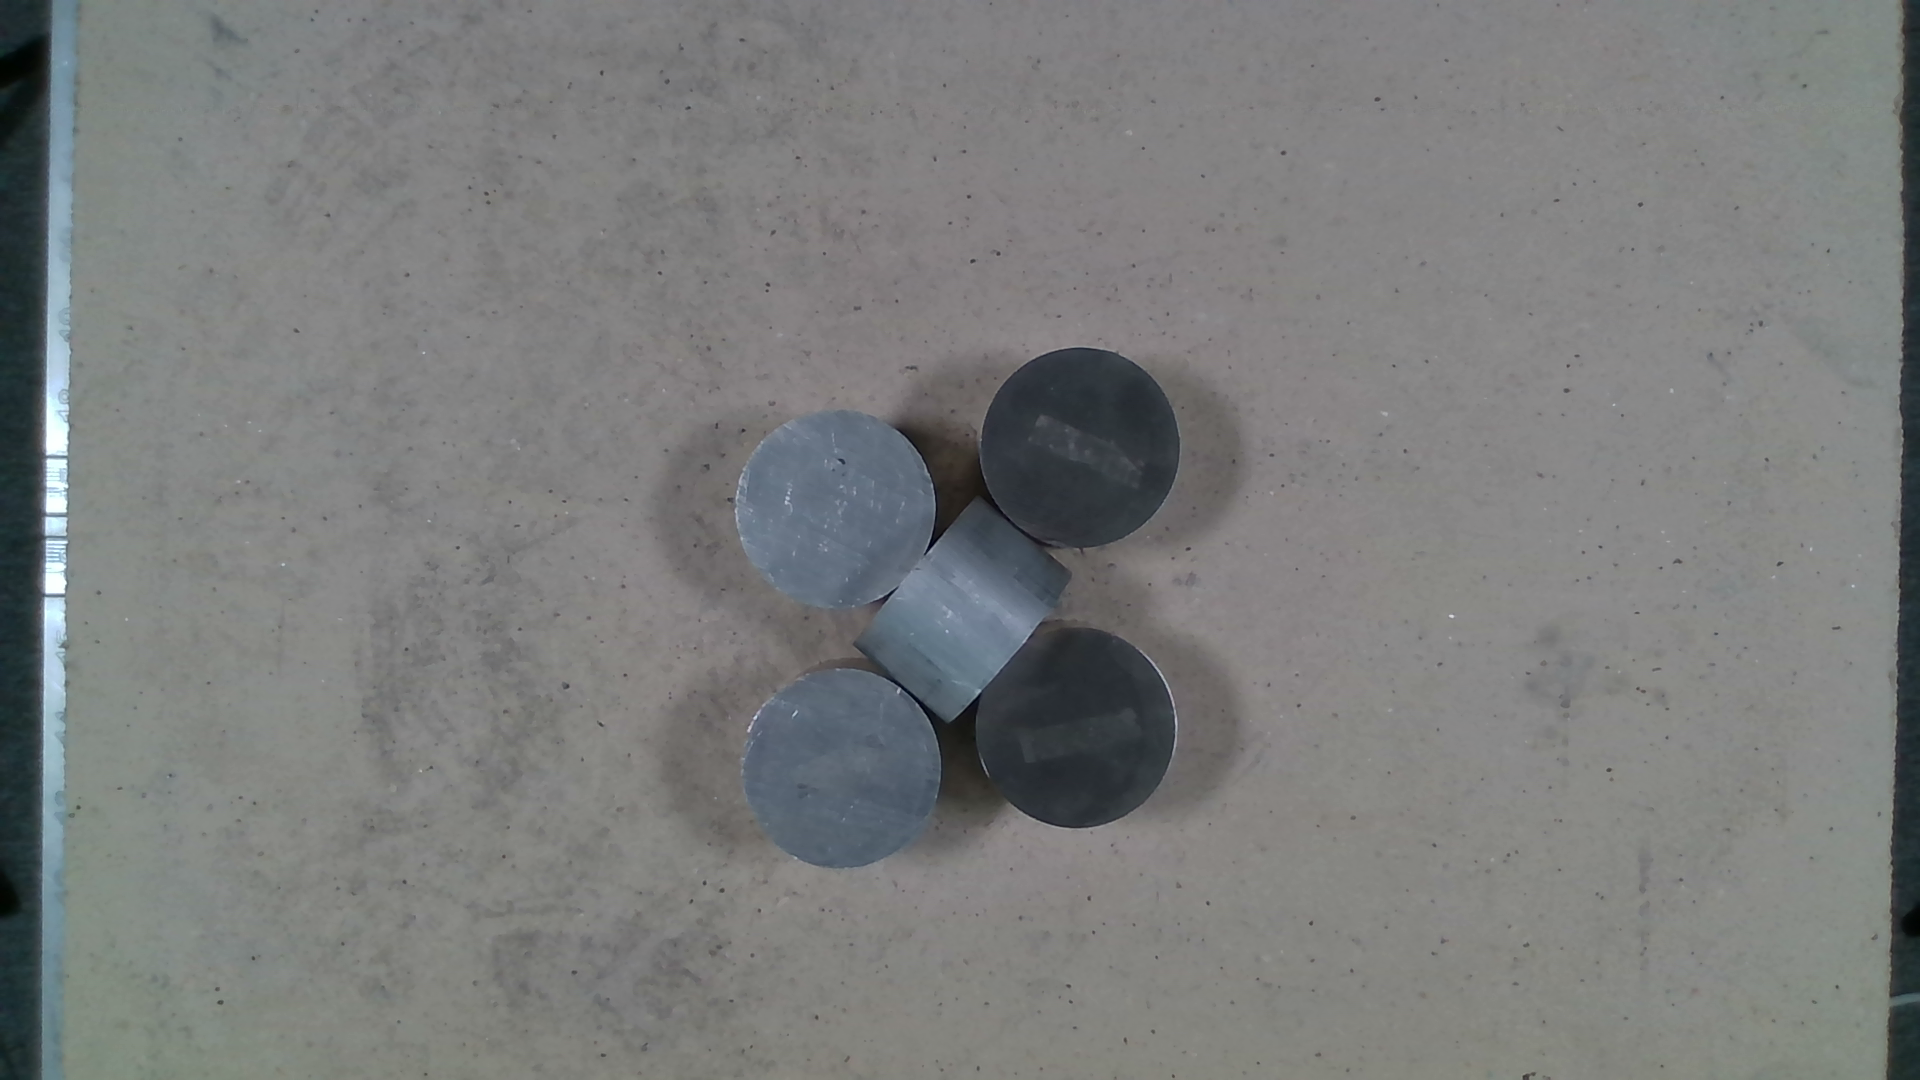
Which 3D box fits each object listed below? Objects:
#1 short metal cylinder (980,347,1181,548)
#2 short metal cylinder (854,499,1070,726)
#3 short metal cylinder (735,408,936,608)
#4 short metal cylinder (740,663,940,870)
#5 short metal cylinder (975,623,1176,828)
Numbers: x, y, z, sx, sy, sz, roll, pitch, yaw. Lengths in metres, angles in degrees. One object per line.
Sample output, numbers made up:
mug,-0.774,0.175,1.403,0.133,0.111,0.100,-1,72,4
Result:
short metal cylinder,0.048,-0.037,0.573,0.080,0.050,0.080,0,90,0
short metal cylinder,0.001,0.029,0.560,0.050,0.080,0.080,40,90,0
short metal cylinder,-0.050,-0.013,0.573,0.080,0.050,0.080,0,90,0
short metal cylinder,-0.048,0.092,0.574,0.080,0.050,0.080,0,90,0
short metal cylinder,0.046,0.075,0.573,0.080,0.050,0.080,0,90,0
